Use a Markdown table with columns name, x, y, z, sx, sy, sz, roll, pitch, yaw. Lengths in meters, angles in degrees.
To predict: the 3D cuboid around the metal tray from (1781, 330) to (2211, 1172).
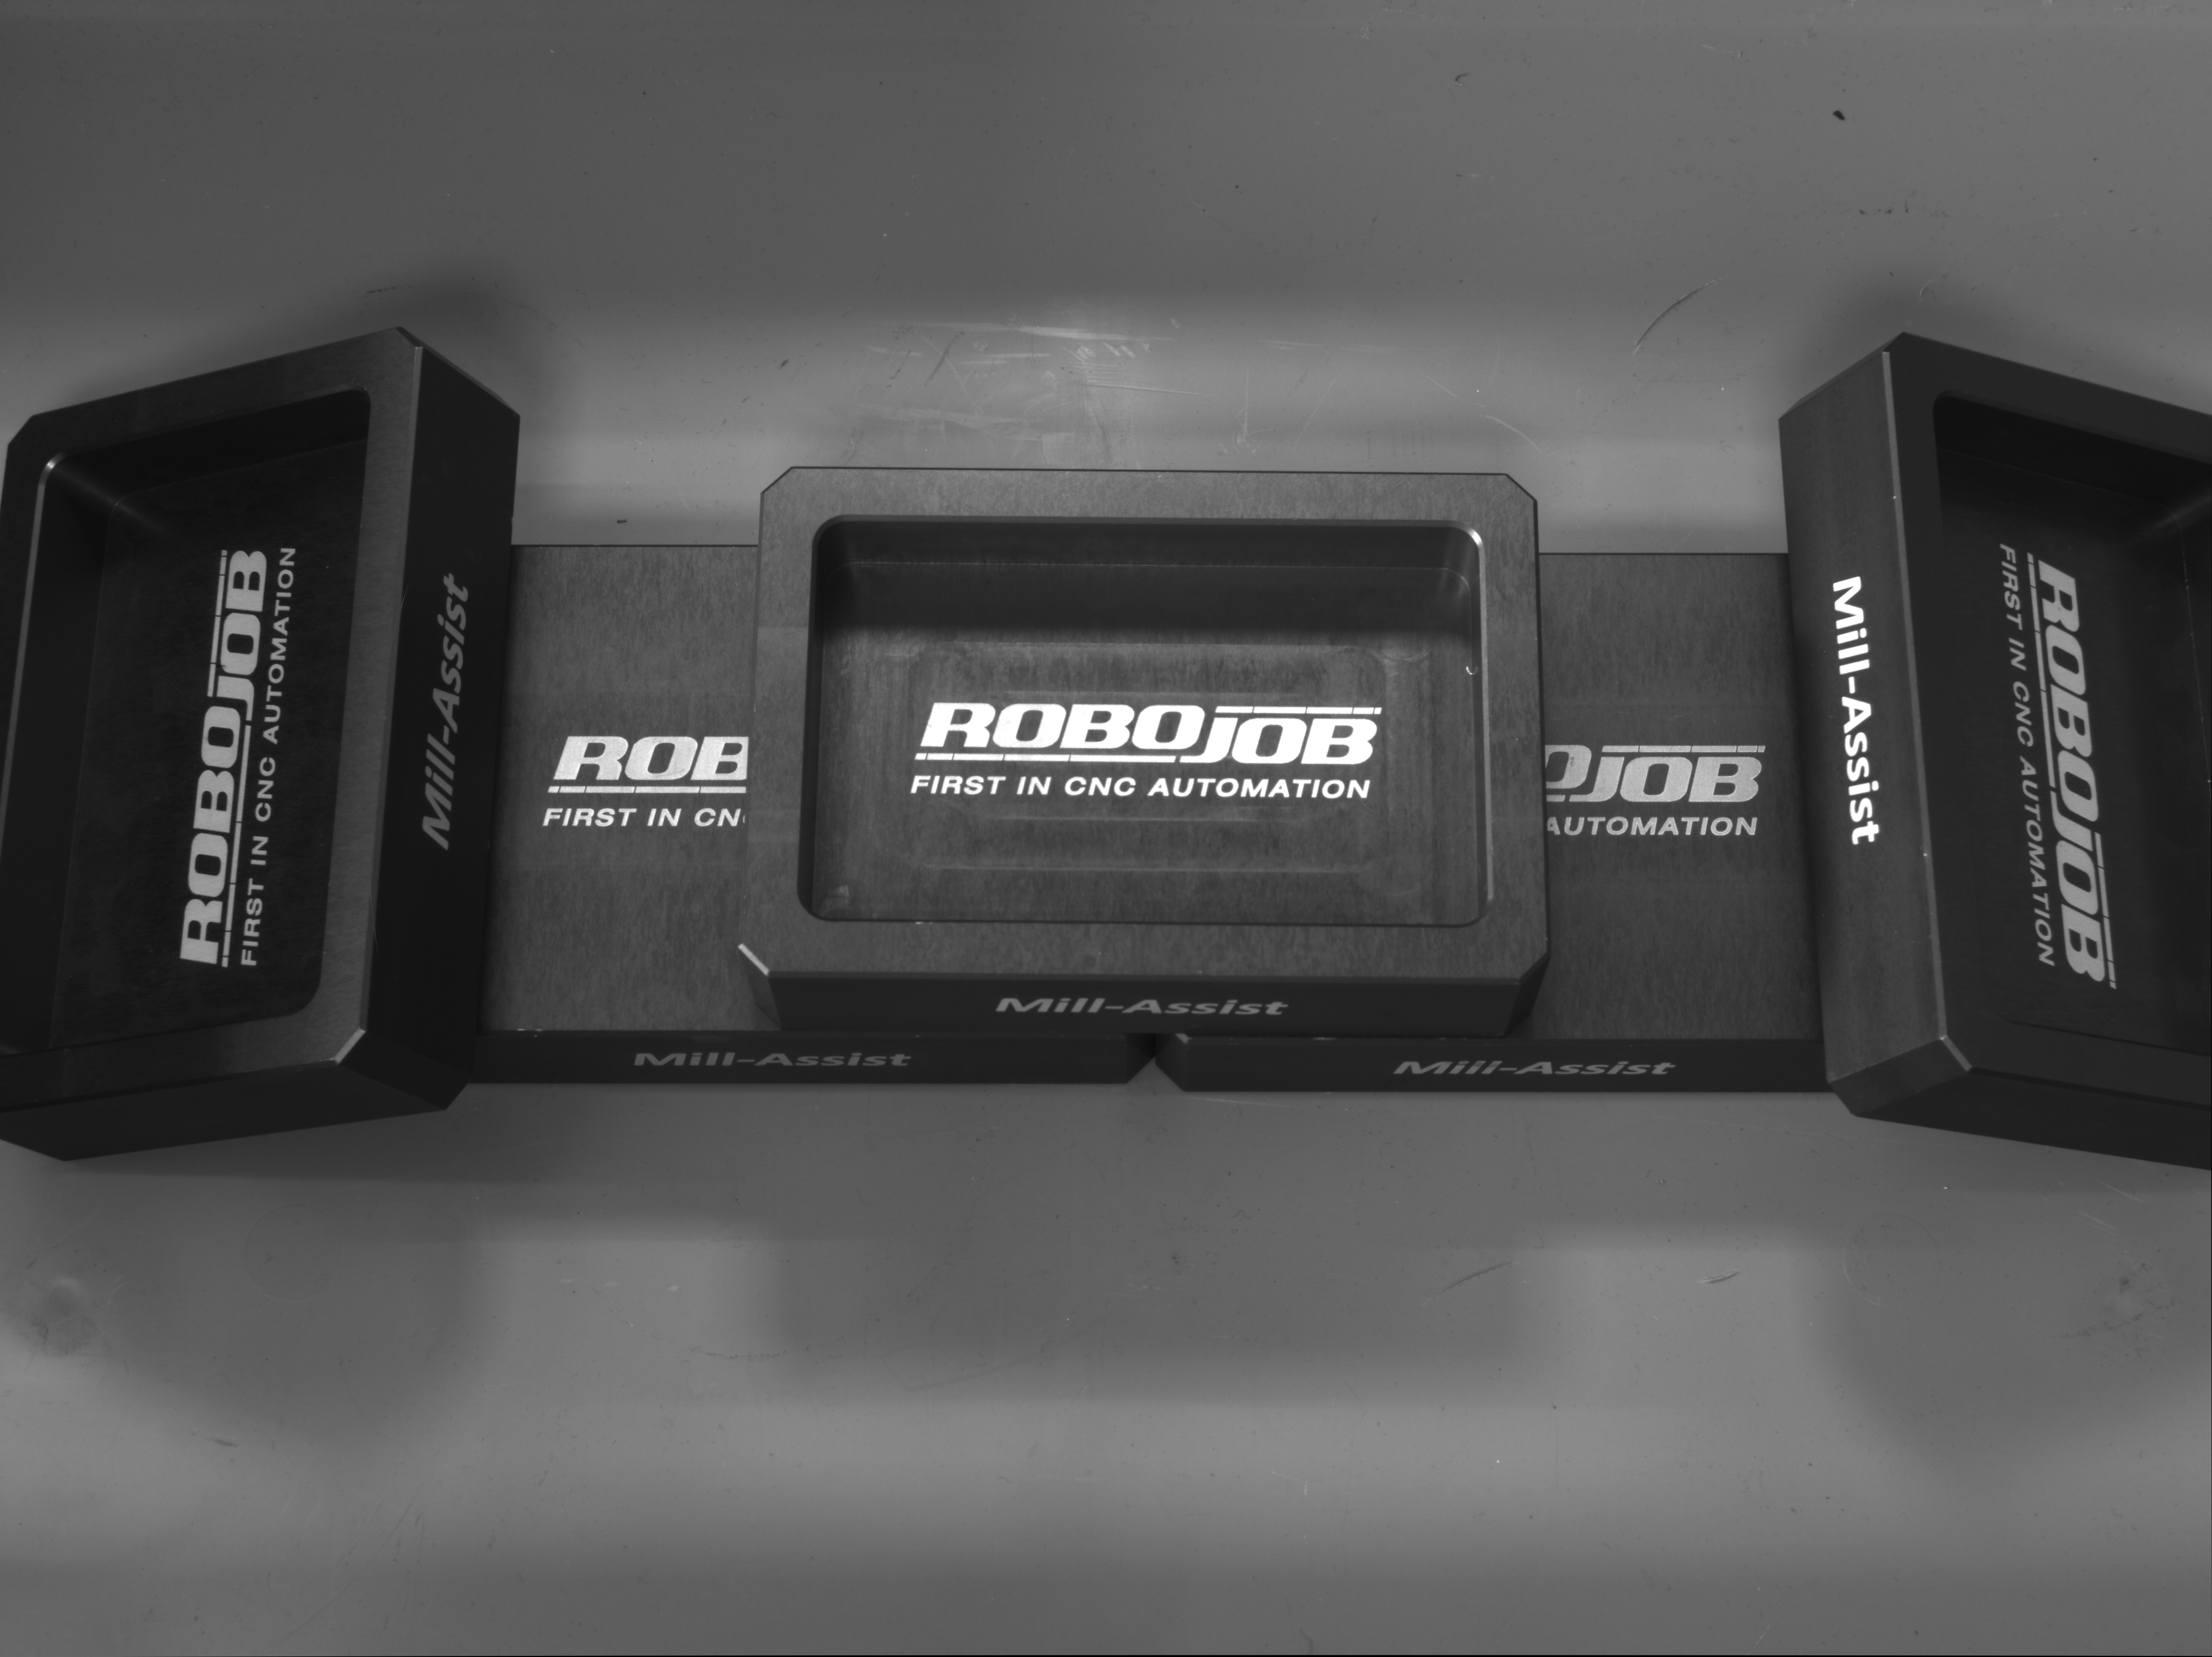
| name | x | y | z | sx | sy | sz | roll | pitch | yaw |
| --- | --- | --- | --- | --- | --- | --- | --- | --- | --- |
| metal tray | 0.163 | -0.012 | 0.625 | 0.090 | 0.030 | 0.130 | 11 | 67 | -26 |

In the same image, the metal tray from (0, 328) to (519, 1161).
| name | x | y | z | sx | sy | sz | roll | pitch | yaw |
| --- | --- | --- | --- | --- | --- | --- | --- | --- | --- |
| metal tray | -0.150 | -0.014 | 0.627 | 0.090 | 0.030 | 0.130 | -9 | 68 | 24 |

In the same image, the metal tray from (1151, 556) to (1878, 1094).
| name | x | y | z | sx | sy | sz | roll | pitch | yaw |
| --- | --- | --- | --- | --- | --- | --- | --- | --- | --- |
| metal tray | 0.073 | -0.001 | 0.642 | 0.130 | 0.030 | 0.090 | 0 | 70 | 0 |

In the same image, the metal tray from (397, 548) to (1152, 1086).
| name | x | y | z | sx | sy | sz | roll | pitch | yaw |
| --- | --- | --- | --- | --- | --- | --- | --- | --- | --- |
| metal tray | -0.057 | -0.002 | 0.643 | 0.130 | 0.030 | 0.090 | 0 | 70 | 0 |

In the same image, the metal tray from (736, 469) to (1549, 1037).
| name | x | y | z | sx | sy | sz | roll | pitch | yaw |
| --- | --- | --- | --- | --- | --- | --- | --- | --- | --- |
| metal tray | 0.006 | -0.013 | 0.613 | 0.130 | 0.030 | 0.090 | 1 | 69 | 0 |
